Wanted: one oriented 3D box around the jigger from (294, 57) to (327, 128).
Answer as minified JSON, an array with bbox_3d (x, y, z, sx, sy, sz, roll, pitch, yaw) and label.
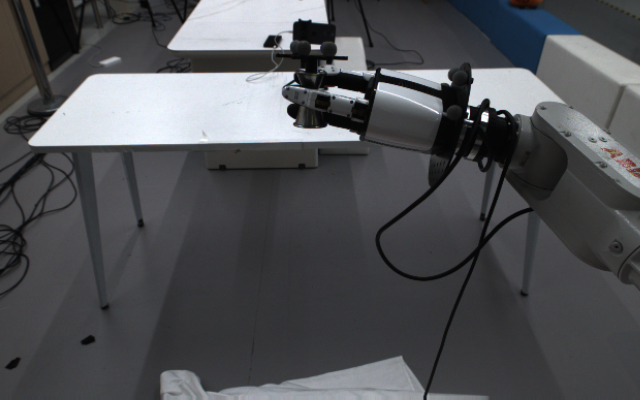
[{"bbox_3d":[-0.012,-0.130,0.620,0.043,0.071,0.043,1,20,-1],"label":"jigger"}]
